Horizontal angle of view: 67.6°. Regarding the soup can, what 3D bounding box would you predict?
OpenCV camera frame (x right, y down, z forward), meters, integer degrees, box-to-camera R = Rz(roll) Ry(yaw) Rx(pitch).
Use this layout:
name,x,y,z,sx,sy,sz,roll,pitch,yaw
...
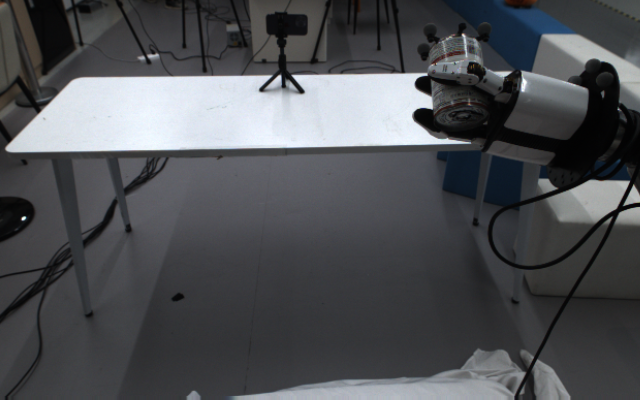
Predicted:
name,x,y,z,sx,sy,sz,roll,pitch,yaw
soup can,0.176,-0.148,0.612,0.067,0.067,0.101,1,72,-2
